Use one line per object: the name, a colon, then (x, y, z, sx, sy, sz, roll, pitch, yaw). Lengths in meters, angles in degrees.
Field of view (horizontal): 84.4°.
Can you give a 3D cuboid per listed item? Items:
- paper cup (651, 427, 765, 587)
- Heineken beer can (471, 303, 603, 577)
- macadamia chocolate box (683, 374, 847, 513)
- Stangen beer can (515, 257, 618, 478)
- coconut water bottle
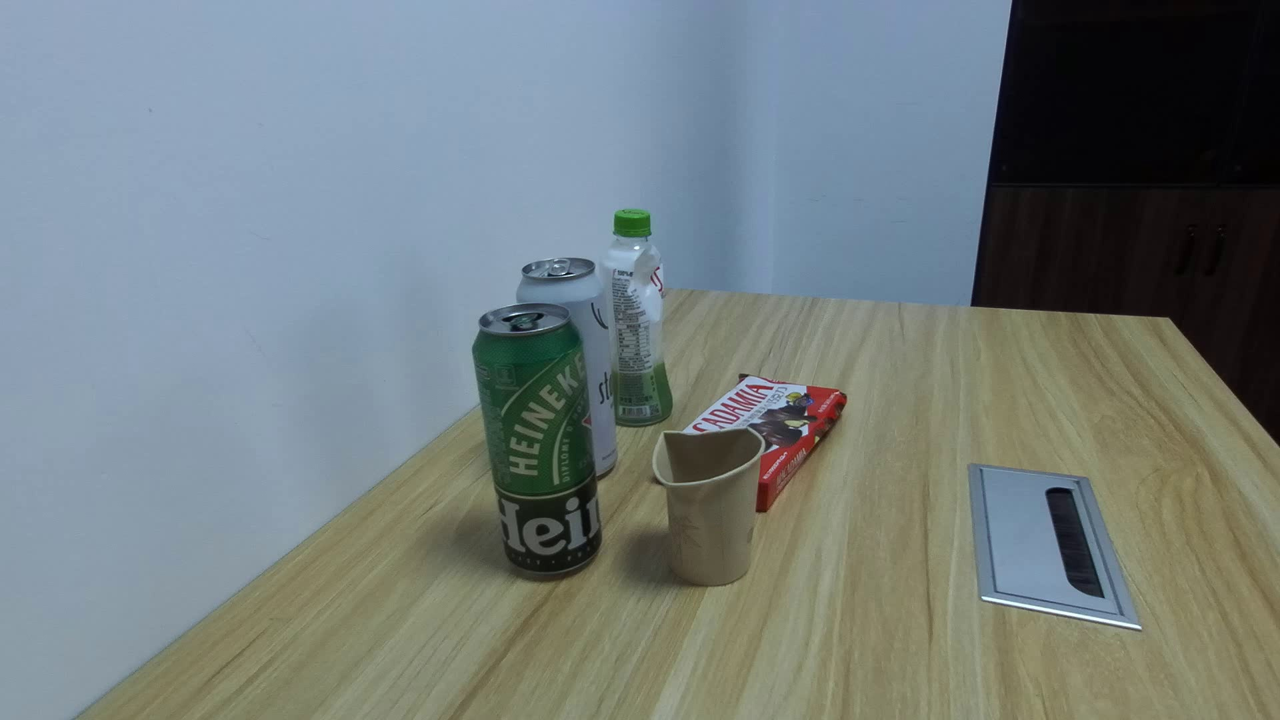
paper cup: (0.045, 0.093, 0.443, 0.071, 0.084, 0.066, -5, 22, 0)
Heineken beer can: (-0.063, 0.053, 0.450, 0.067, 0.169, 0.067, -3, 22, 1)
macadamia chocolate box: (0.099, 0.060, 0.593, 0.105, 0.028, 0.183, 11, 26, 29)
Stangen beer can: (-0.054, 0.009, 0.553, 0.067, 0.171, 0.067, -3, 19, 1)
coconut water bottle: (-0.005, -0.037, 0.626, 0.069, 0.187, 0.069, -2, 20, 1)
